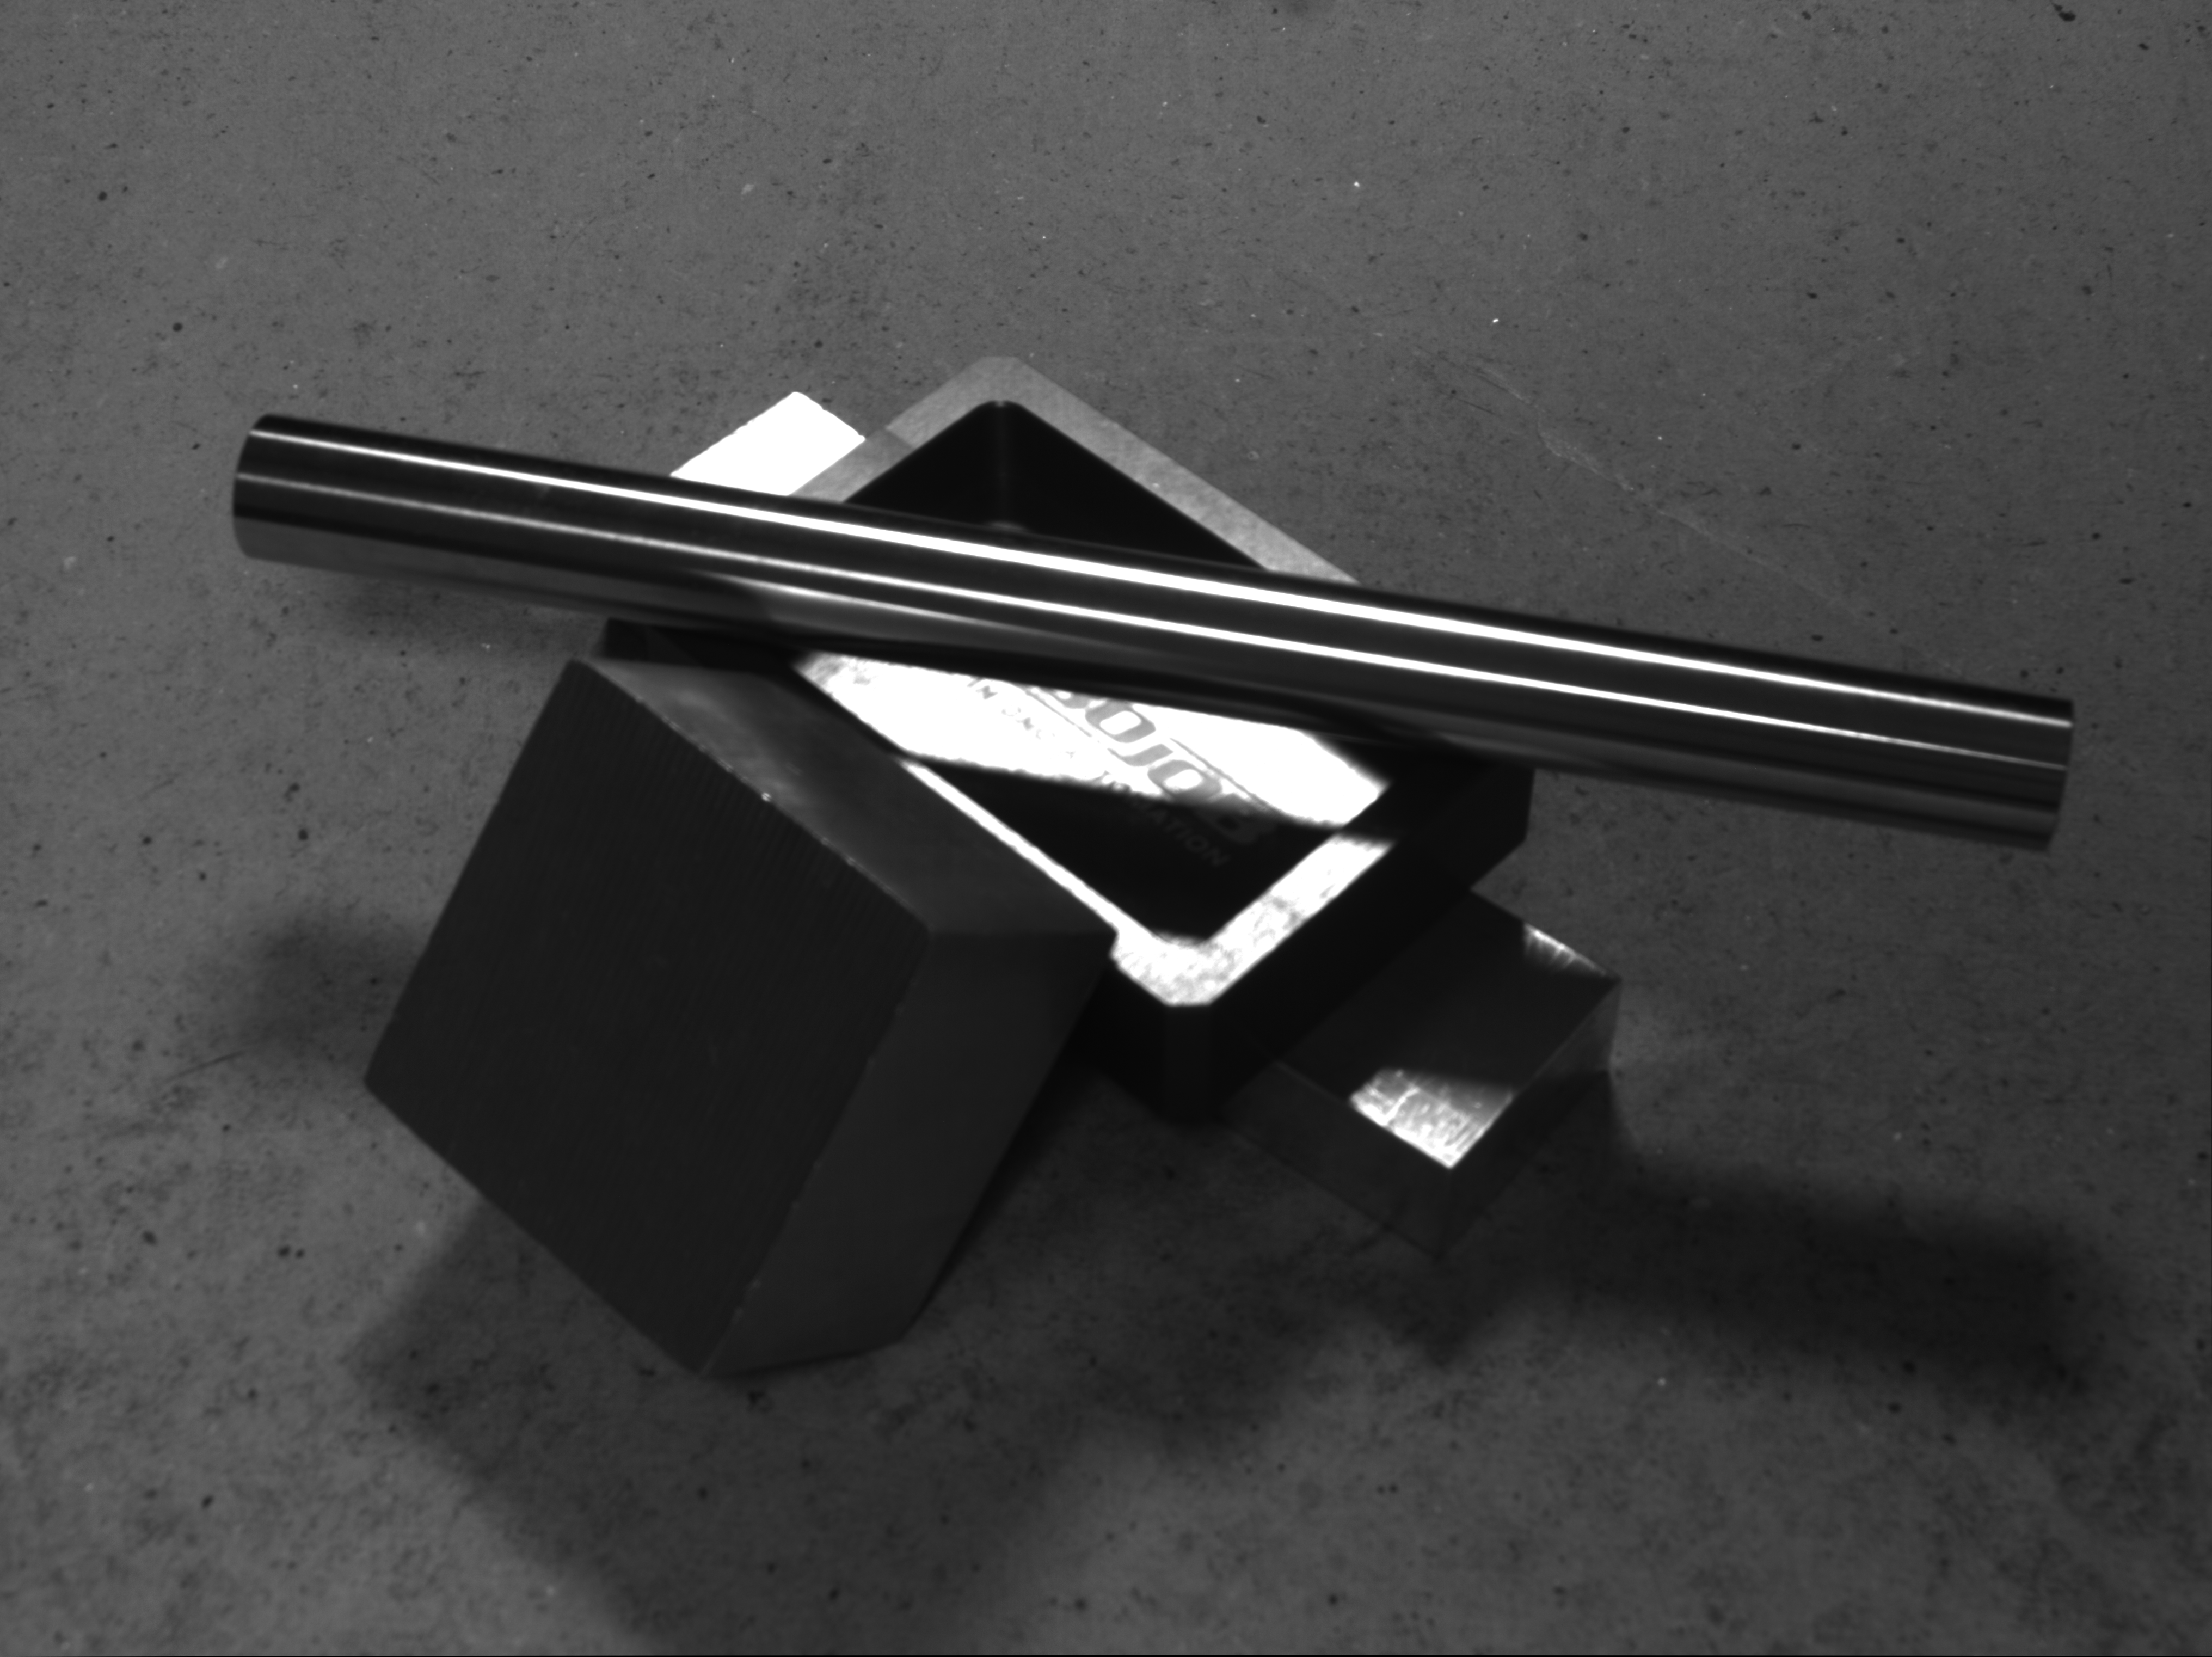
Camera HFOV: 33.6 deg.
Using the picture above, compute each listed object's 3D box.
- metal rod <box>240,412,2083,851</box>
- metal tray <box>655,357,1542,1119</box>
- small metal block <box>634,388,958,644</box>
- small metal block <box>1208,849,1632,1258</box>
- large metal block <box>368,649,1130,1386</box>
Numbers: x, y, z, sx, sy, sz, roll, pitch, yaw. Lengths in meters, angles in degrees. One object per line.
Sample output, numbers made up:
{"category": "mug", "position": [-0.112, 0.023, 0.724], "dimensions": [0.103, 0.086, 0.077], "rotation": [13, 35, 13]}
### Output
{"category": "metal rod", "position": [0.005, -0.033, 0.598], "dimensions": [0.300, 0.025, 0.025], "rotation": [10, 50, 8]}
{"category": "metal tray", "position": [-0.002, -0.019, 0.621], "dimensions": [0.130, 0.030, 0.090], "rotation": [36, 59, 27]}
{"category": "small metal block", "position": [-0.057, -0.049, 0.683], "dimensions": [0.050, 0.025, 0.050], "rotation": [37, 59, 27]}
{"category": "small metal block", "position": [0.052, 0.035, 0.612], "dimensions": [0.050, 0.025, 0.050], "rotation": [31, 57, 24]}
{"category": "large metal block", "position": [-0.056, 0.028, 0.571], "dimensions": [0.080, 0.080, 0.050], "rotation": [35, 17, 27]}
